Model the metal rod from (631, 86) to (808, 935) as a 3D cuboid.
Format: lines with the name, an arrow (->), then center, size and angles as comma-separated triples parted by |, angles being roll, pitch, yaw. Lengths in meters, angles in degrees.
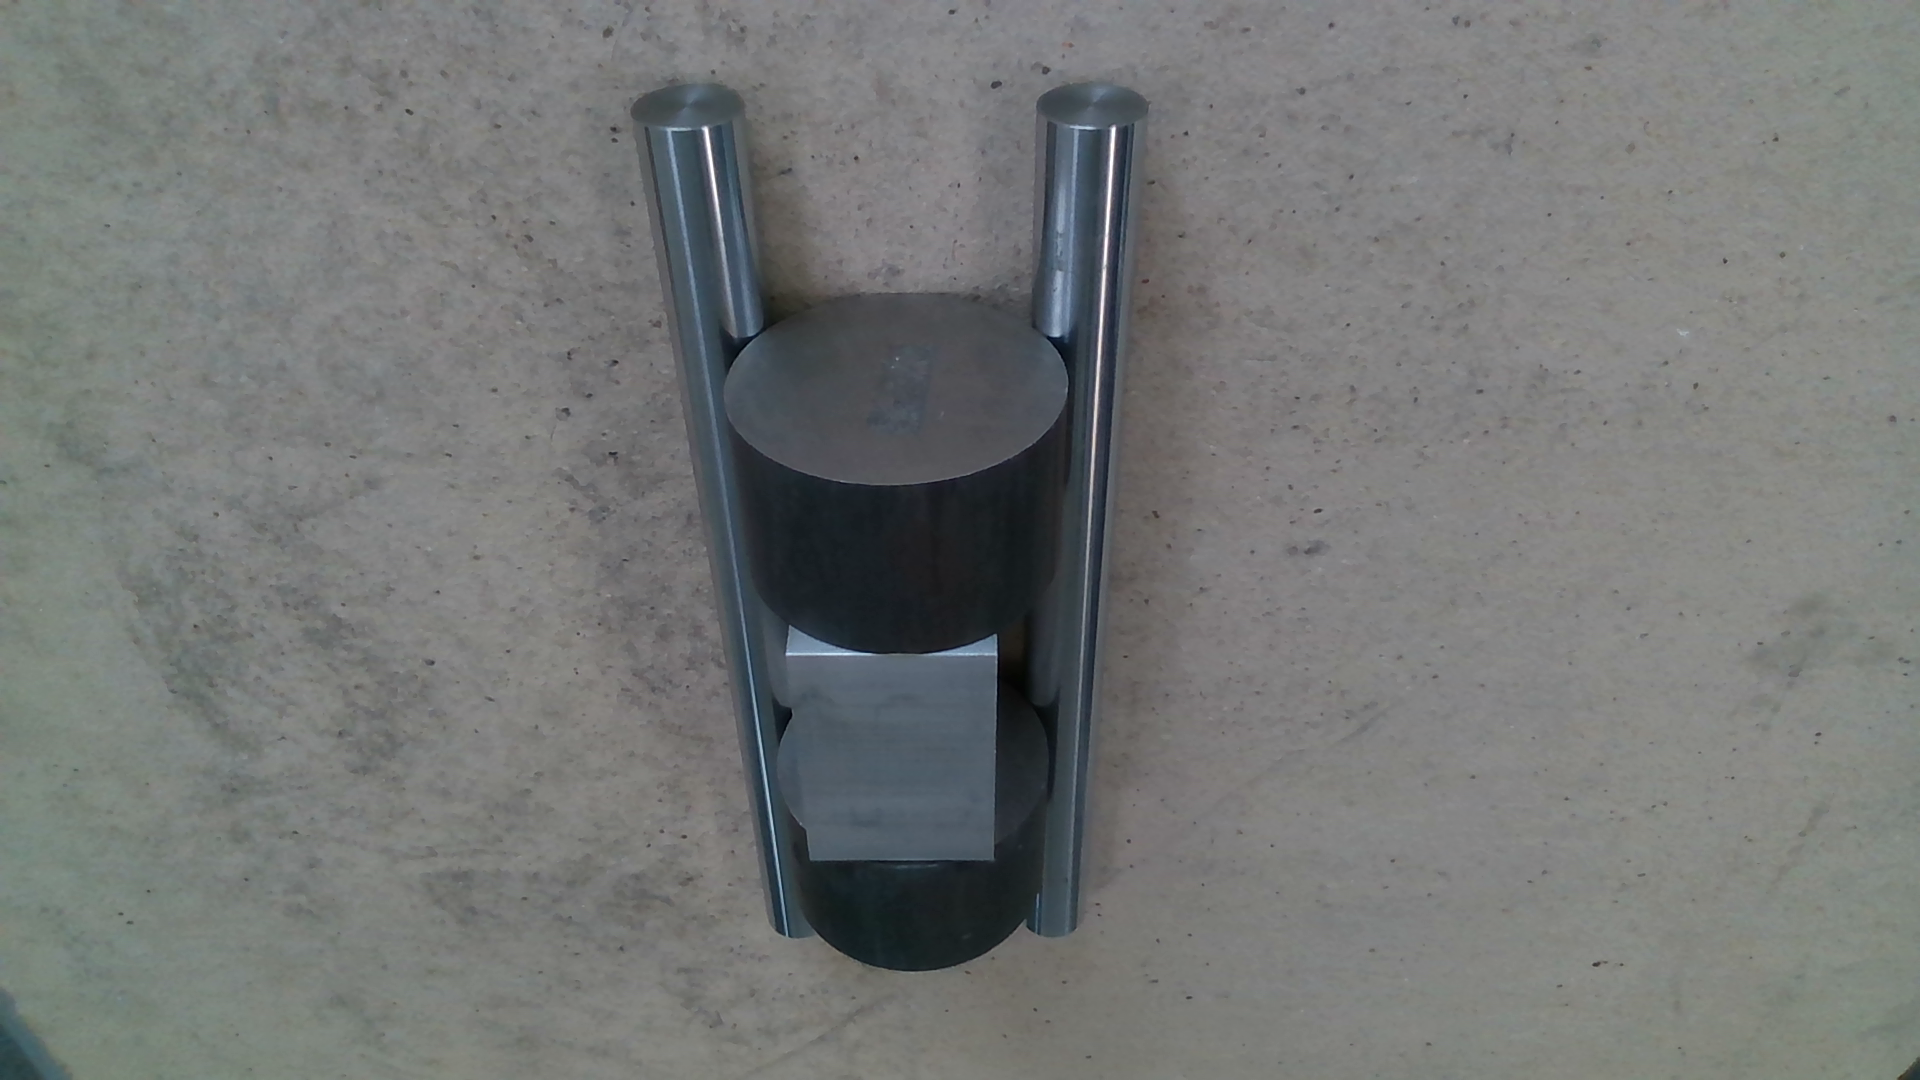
metal rod -> -0.059, 0.018, 0.405 | 0.025, 0.025, 0.301 | 0, 130, 0

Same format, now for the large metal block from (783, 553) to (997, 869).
large metal block -> -0.016, 0.033, 0.378 | 0.050, 0.080, 0.080 | 0, 130, 0

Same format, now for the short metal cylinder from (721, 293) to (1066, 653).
short metal cylinder -> -0.015, -0.018, 0.337 | 0.080, 0.080, 0.050 | -1, 130, 1

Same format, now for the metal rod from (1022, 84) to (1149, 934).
metal rod -> 0.031, 0.018, 0.404 | 0.025, 0.025, 0.301 | 0, 130, 0

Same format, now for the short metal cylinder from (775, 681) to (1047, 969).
short metal cylinder -> -0.014, 0.082, 0.422 | 0.080, 0.080, 0.050 | -1, 130, 1
